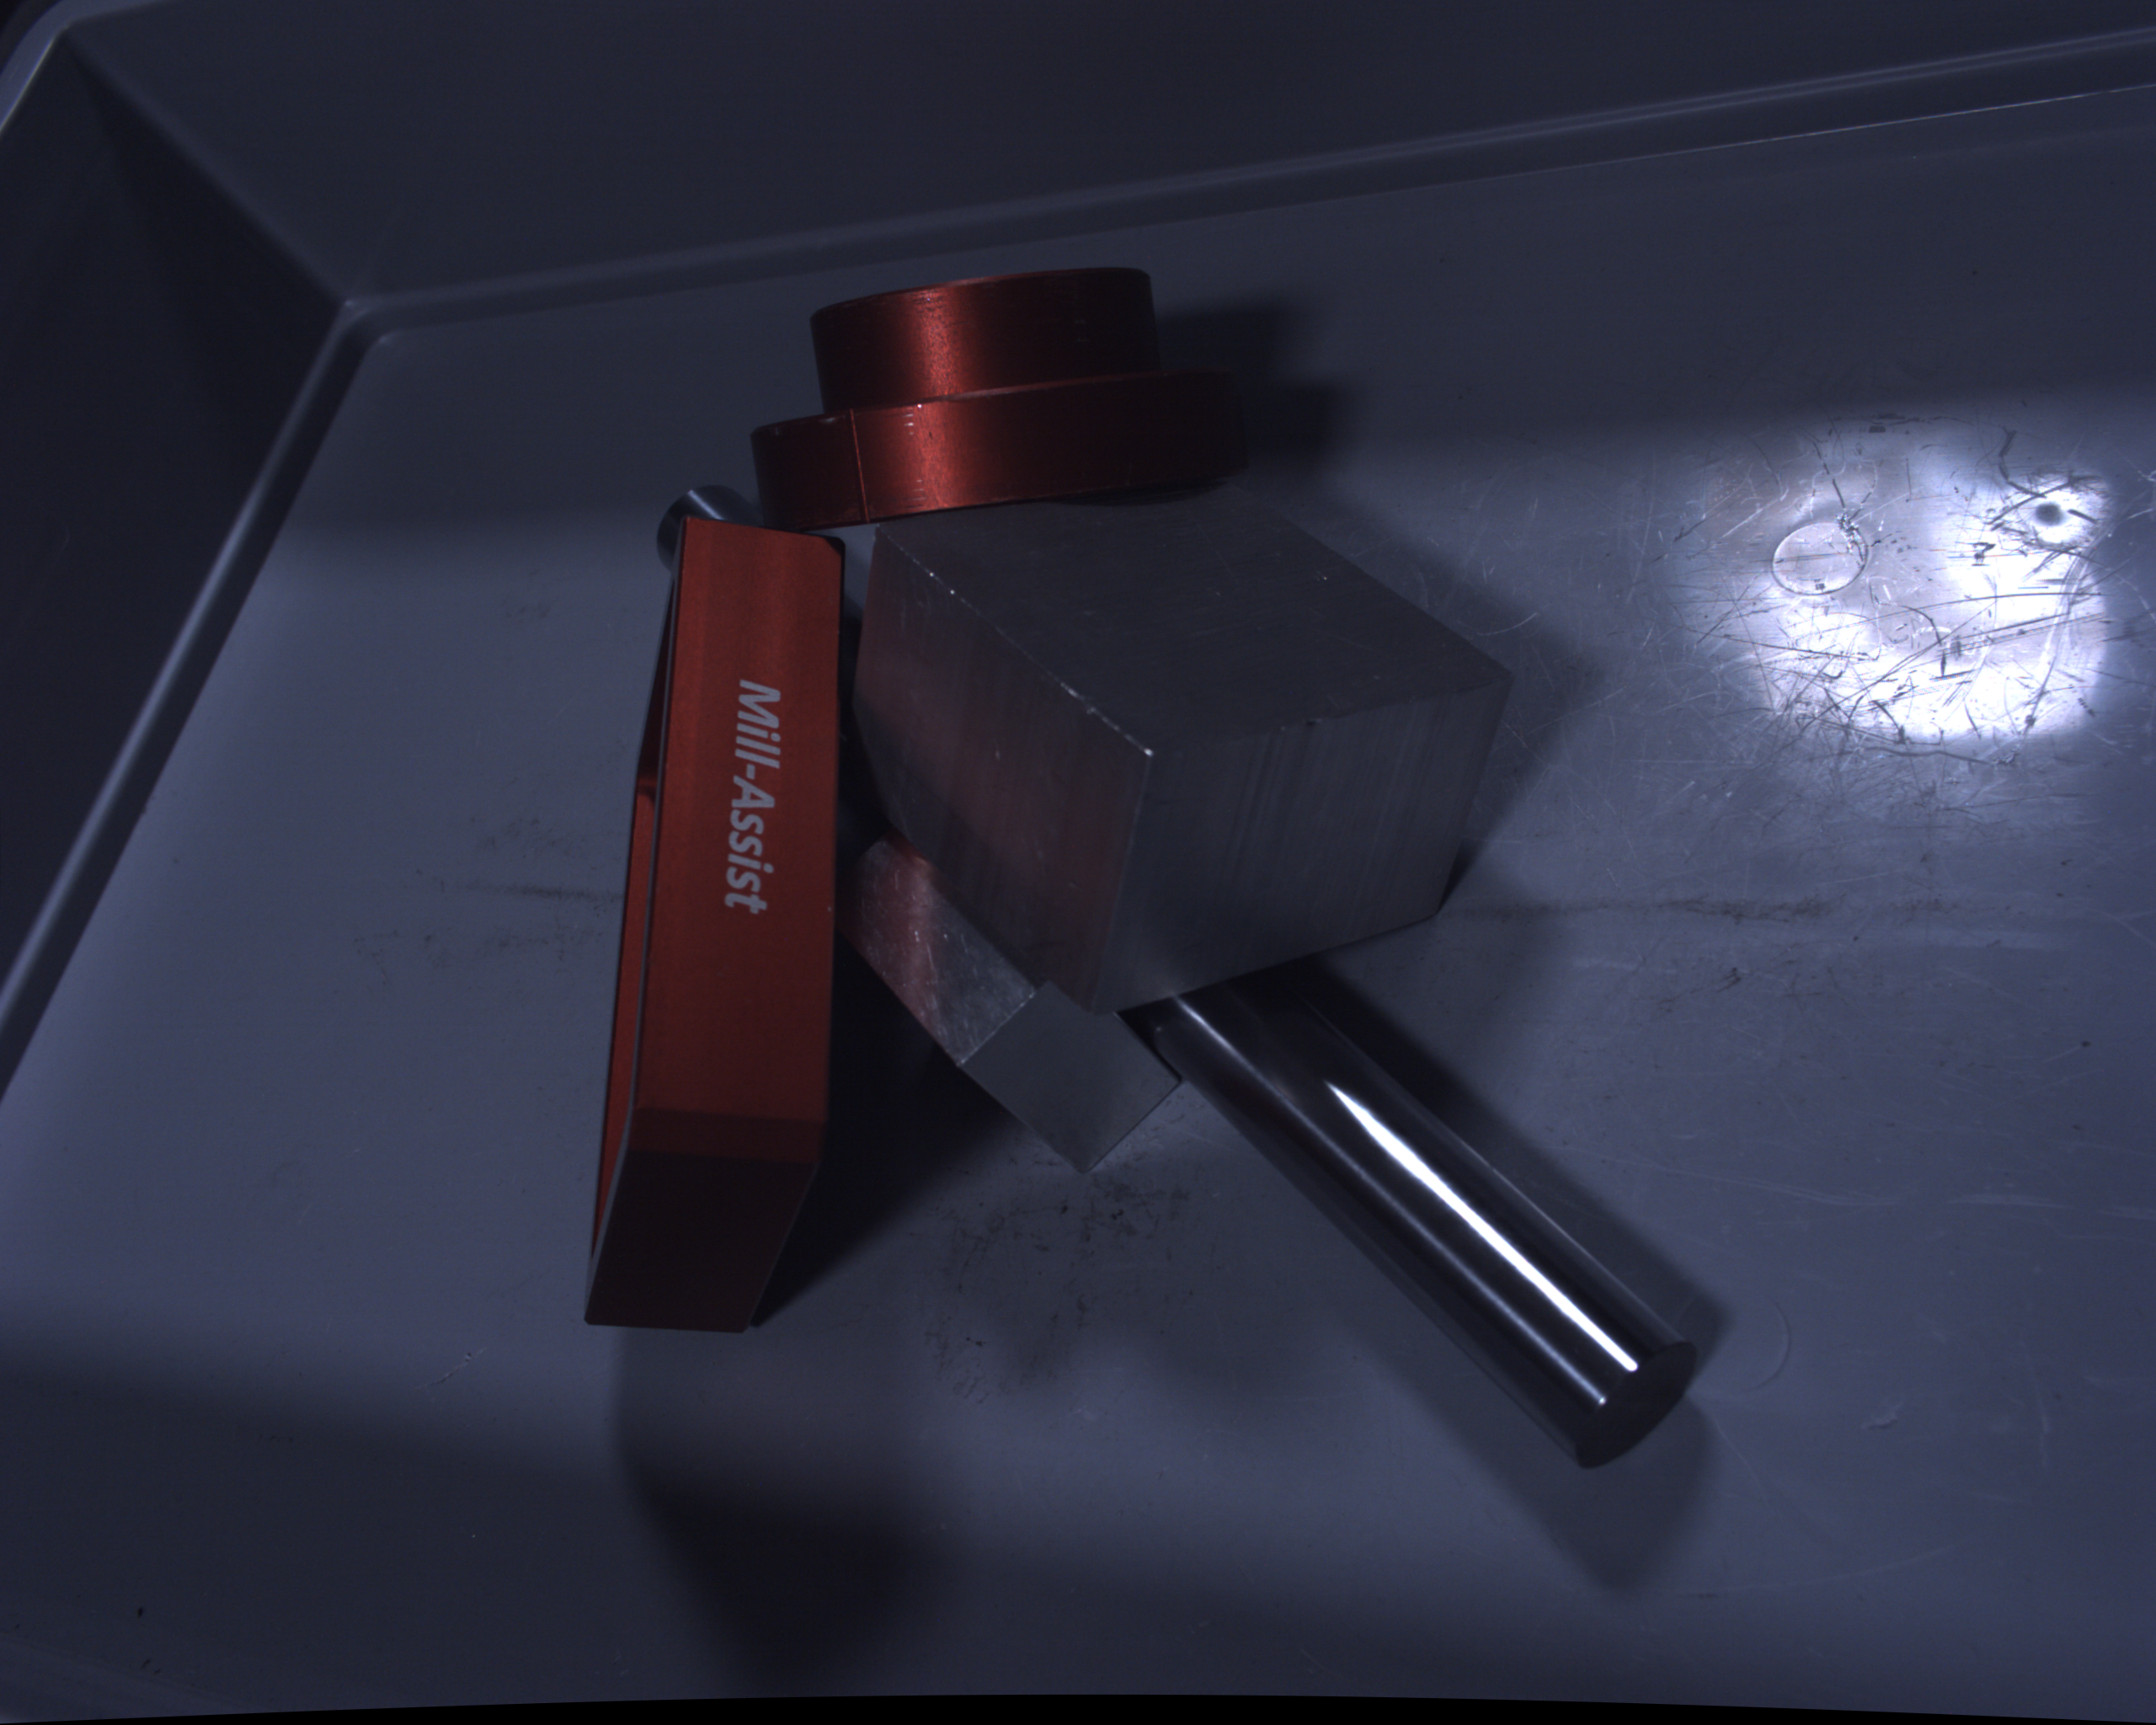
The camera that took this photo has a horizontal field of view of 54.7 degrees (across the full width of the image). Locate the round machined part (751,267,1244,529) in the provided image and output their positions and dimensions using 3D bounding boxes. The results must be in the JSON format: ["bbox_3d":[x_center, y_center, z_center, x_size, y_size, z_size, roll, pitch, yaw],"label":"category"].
[{"bbox_3d":[-0.017,-0.093,0.419,0.098,0.099,0.042,-2,102,27],"label":"round machined part"}]

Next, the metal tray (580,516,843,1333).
[{"bbox_3d":[-0.069,0.012,0.391,0.030,0.089,0.130,7,56,-15],"label":"metal tray"}]

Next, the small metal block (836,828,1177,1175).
[{"bbox_3d":[-0.014,0.023,0.379,0.025,0.050,0.050,-44,51,-2],"label":"small metal block"}]

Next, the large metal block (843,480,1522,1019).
[{"bbox_3d":[0.015,-0.024,0.368,0.081,0.050,0.080,-14,41,-35],"label":"large metal block"}]

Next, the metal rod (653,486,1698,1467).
[{"bbox_3d":[-0.003,0.001,0.403,0.025,0.025,0.300,-45,51,-3],"label":"metal rod"}]
